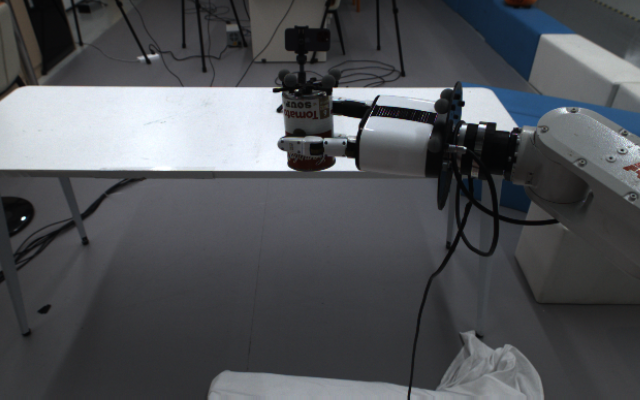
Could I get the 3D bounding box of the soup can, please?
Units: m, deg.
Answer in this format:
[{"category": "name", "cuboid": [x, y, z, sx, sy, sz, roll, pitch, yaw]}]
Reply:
[{"category": "soup can", "cuboid": [-0.013, -0.099, 0.654, 0.067, 0.101, 0.067, -4, 27, 2]}]
